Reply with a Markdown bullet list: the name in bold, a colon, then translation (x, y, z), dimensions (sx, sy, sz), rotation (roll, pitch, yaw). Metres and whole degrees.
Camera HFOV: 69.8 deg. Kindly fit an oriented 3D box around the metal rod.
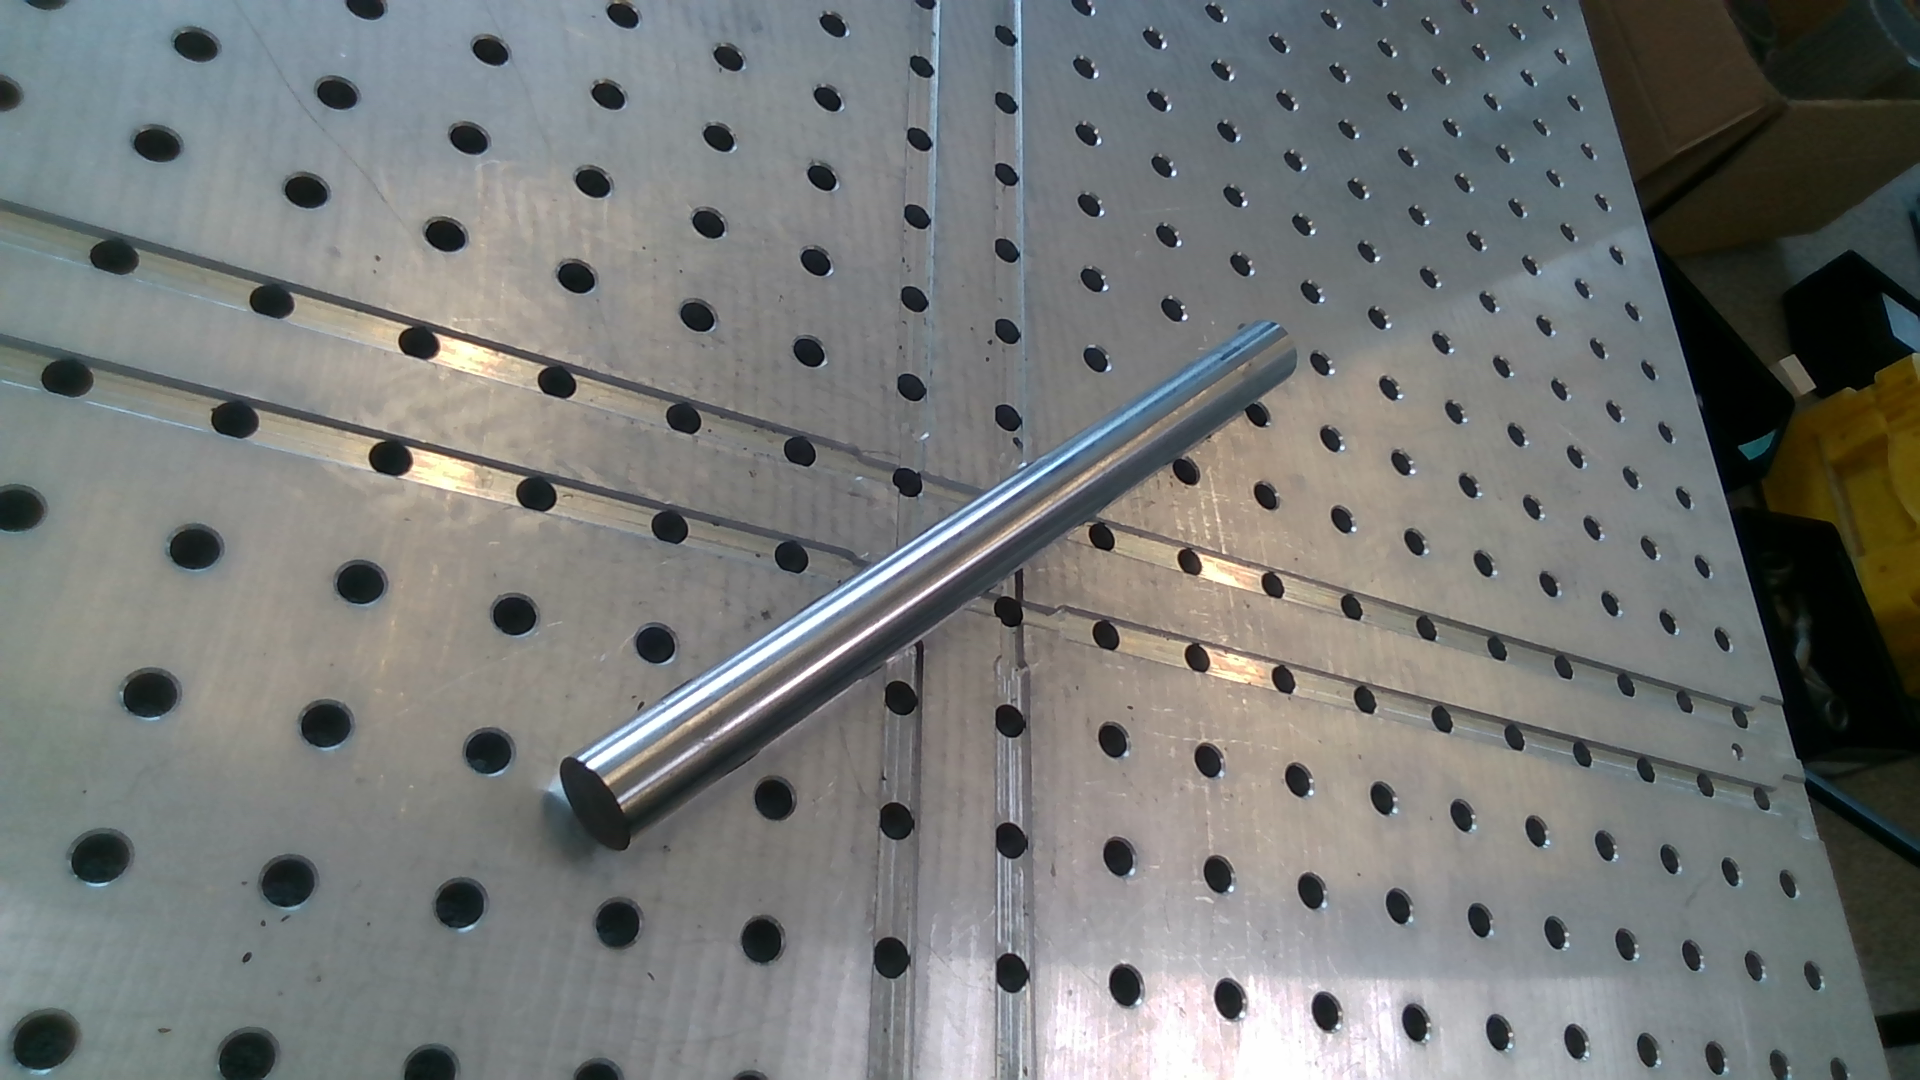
- **metal rod**: translation (0.014, -0.005, 0.408), dimensions (0.300, 0.025, 0.025), rotation (-33, 85, -39)
